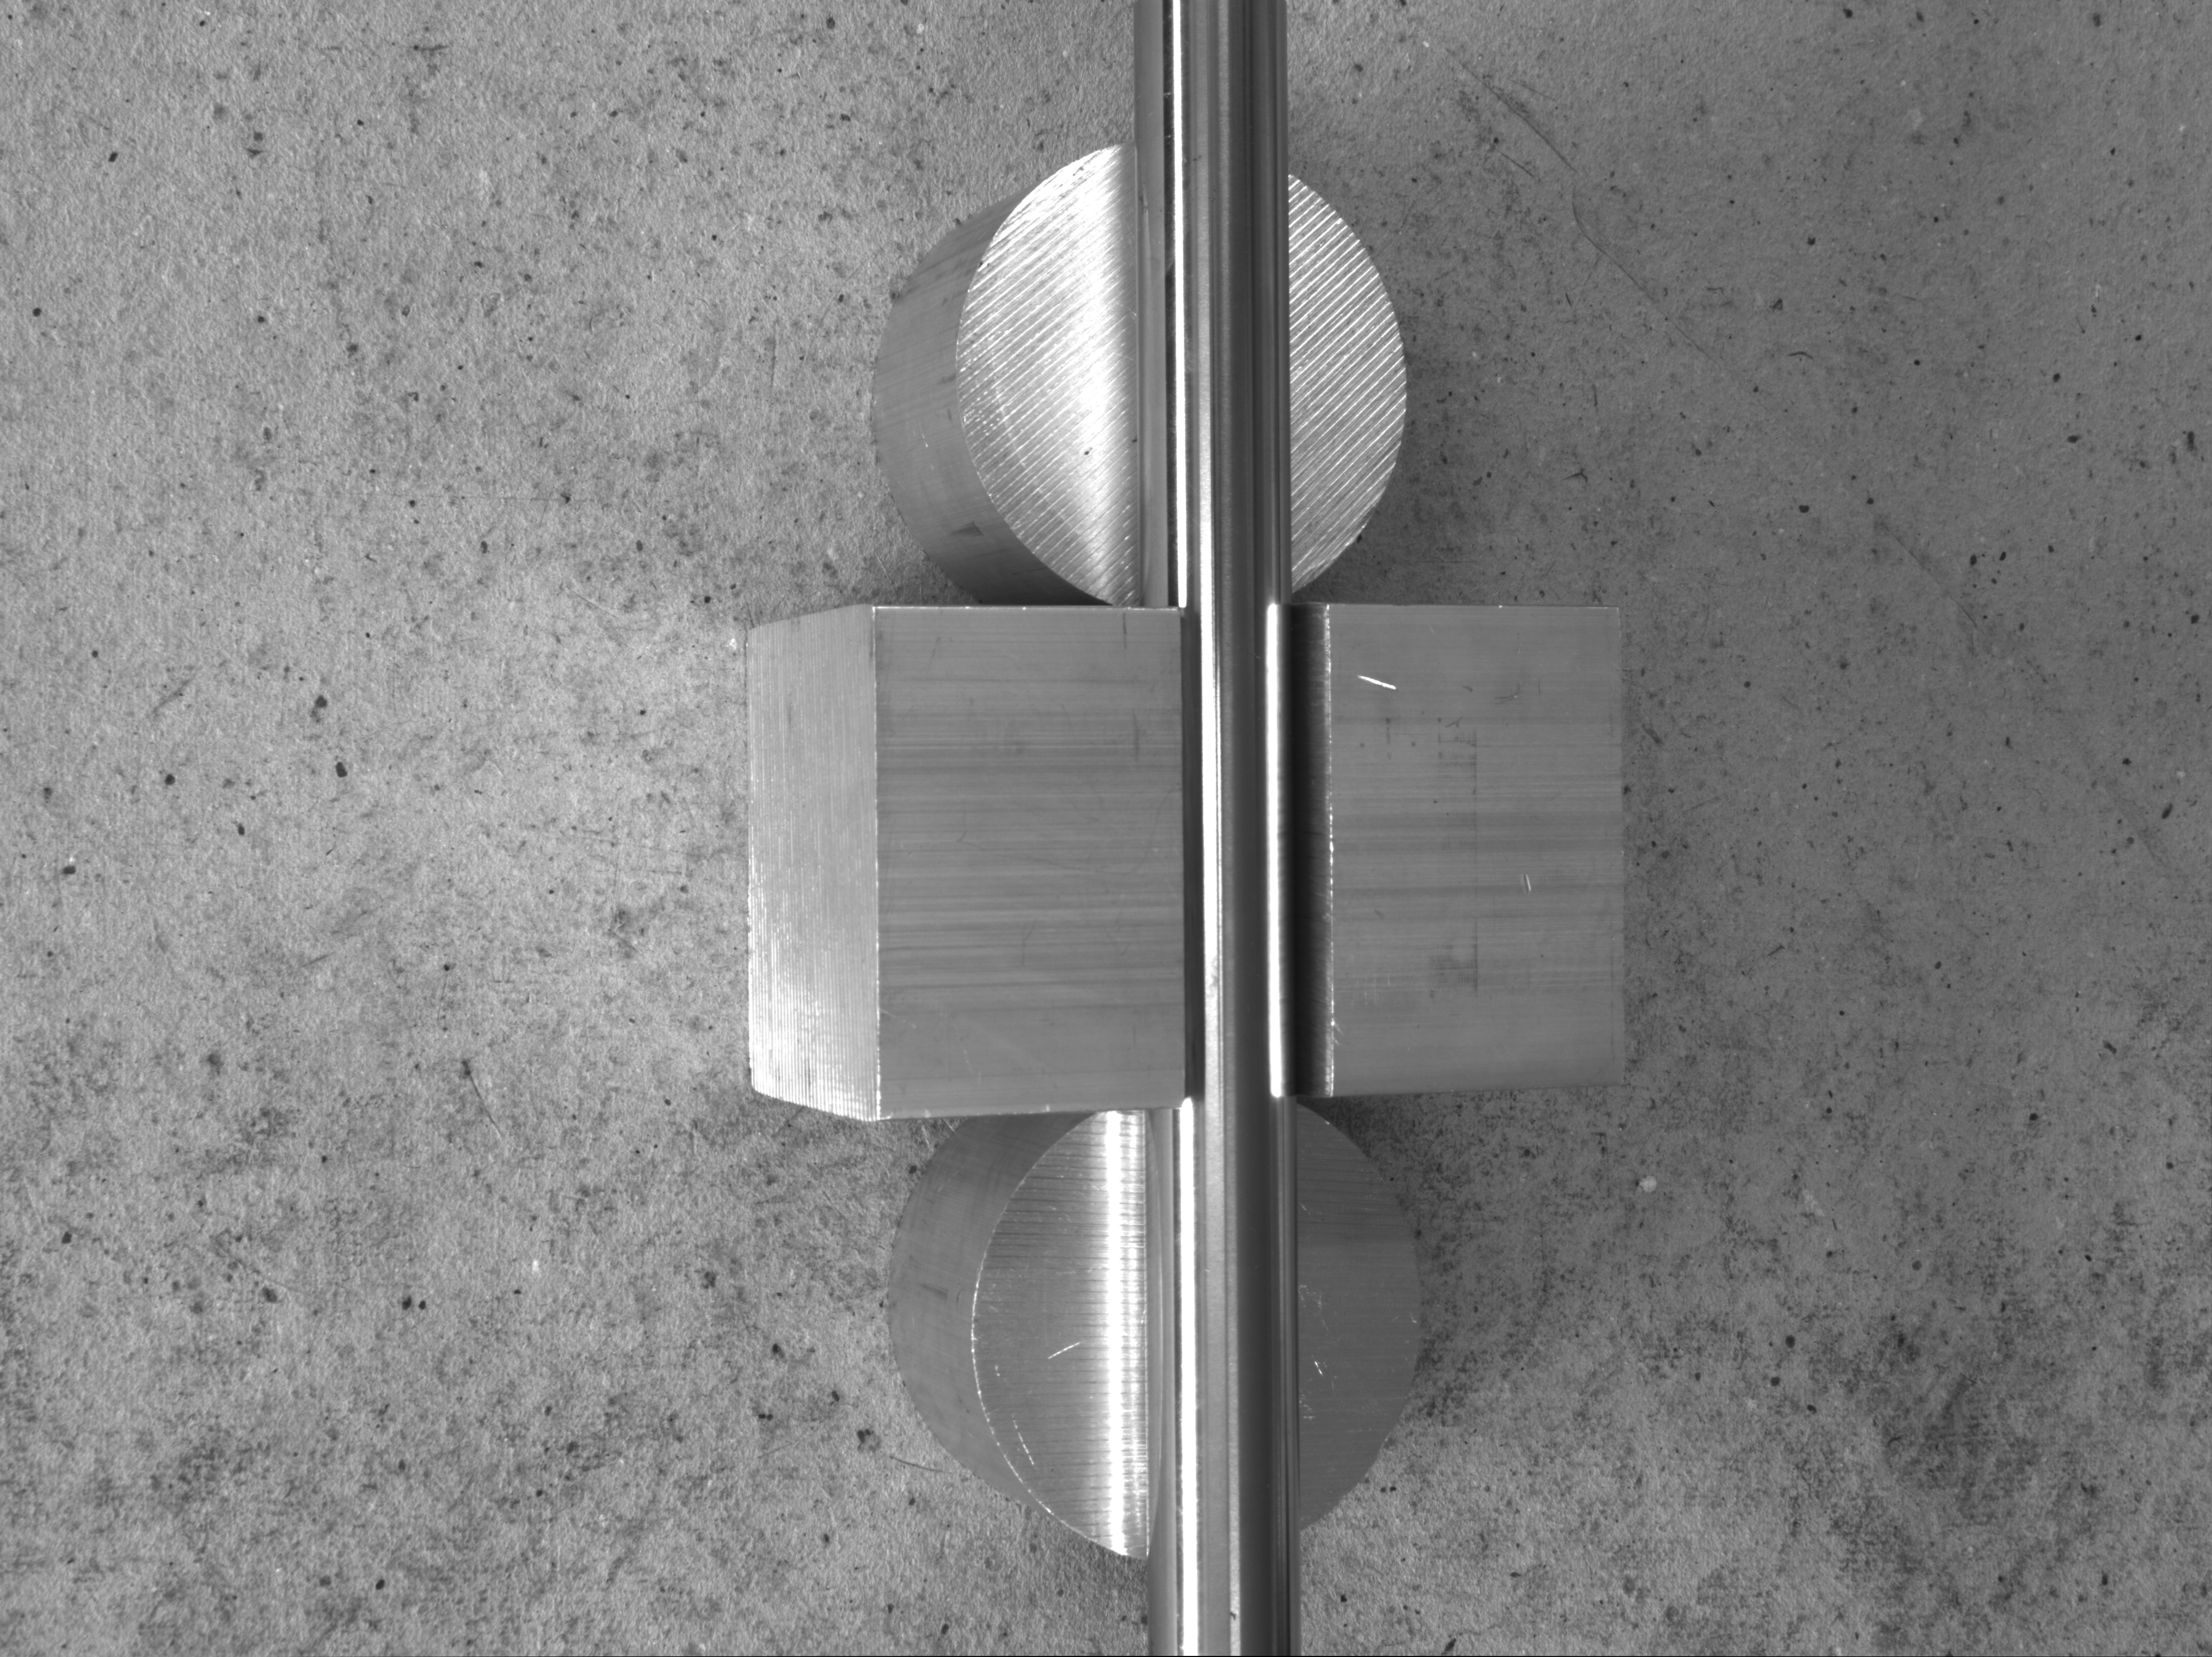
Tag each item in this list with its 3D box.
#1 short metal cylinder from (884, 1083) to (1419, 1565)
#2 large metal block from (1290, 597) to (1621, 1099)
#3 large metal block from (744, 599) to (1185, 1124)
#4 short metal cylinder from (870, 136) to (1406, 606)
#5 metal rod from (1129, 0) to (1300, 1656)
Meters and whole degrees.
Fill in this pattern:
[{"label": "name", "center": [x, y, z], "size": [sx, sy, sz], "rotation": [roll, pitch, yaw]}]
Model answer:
[{"label": "short metal cylinder", "center": [0.007, 0.082, 0.634], "size": [0.080, 0.050, 0.080], "rotation": [0, 89, -20]}, {"label": "large metal block", "center": [0.047, 0.003, 0.631], "size": [0.050, 0.080, 0.080], "rotation": [-1, 90, -20]}, {"label": "large metal block", "center": [-0.025, 0.005, 0.605], "size": [0.050, 0.080, 0.080], "rotation": [-1, 90, -20]}, {"label": "short metal cylinder", "center": [0.005, -0.075, 0.632], "size": [0.080, 0.050, 0.080], "rotation": [0, 89, -20]}, {"label": "metal rod", "center": [0.018, 0.016, 0.596], "size": [0.025, 0.025, 0.300], "rotation": [-1, 90, -20]}]
